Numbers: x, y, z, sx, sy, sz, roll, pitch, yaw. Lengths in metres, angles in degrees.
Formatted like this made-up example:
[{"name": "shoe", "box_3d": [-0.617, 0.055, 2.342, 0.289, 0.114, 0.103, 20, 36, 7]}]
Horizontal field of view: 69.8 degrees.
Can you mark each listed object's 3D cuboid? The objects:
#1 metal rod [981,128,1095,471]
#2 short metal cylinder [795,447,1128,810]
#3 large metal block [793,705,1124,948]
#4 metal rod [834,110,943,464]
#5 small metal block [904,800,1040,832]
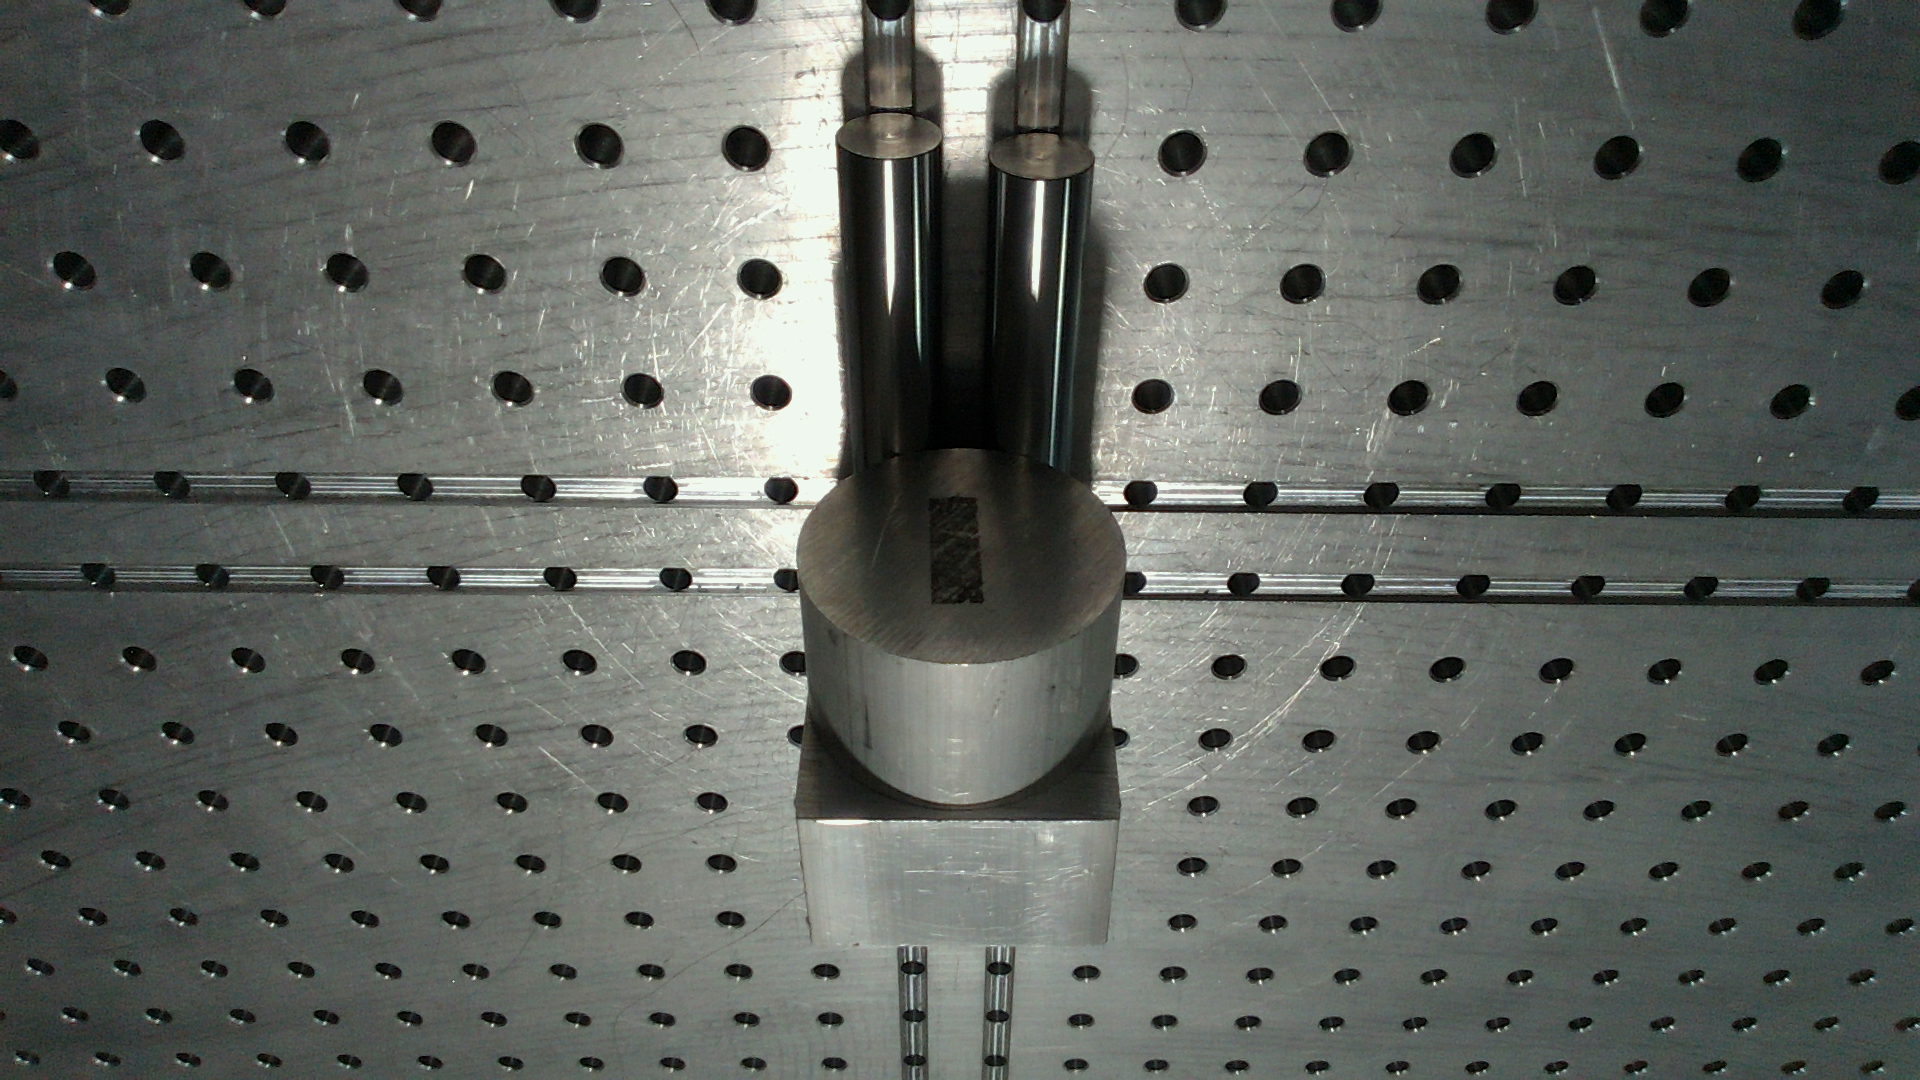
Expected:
[{"name": "metal rod", "box_3d": [0.018, 0.024, 0.416, 0.025, 0.025, 0.300, 0, 130, 0]}, {"name": "short metal cylinder", "box_3d": [0.000, 0.020, 0.347, 0.080, 0.080, 0.050, 1, 130, -1]}, {"name": "large metal block", "box_3d": [0.000, 0.063, 0.378, 0.080, 0.080, 0.050, 0, 130, 0]}, {"name": "metal rod", "box_3d": [-0.018, 0.021, 0.413, 0.025, 0.025, 0.300, 0, 130, 0]}, {"name": "small metal block", "box_3d": [-0.001, 0.081, 0.416, 0.050, 0.050, 0.025, -32, 140, -33]}]
